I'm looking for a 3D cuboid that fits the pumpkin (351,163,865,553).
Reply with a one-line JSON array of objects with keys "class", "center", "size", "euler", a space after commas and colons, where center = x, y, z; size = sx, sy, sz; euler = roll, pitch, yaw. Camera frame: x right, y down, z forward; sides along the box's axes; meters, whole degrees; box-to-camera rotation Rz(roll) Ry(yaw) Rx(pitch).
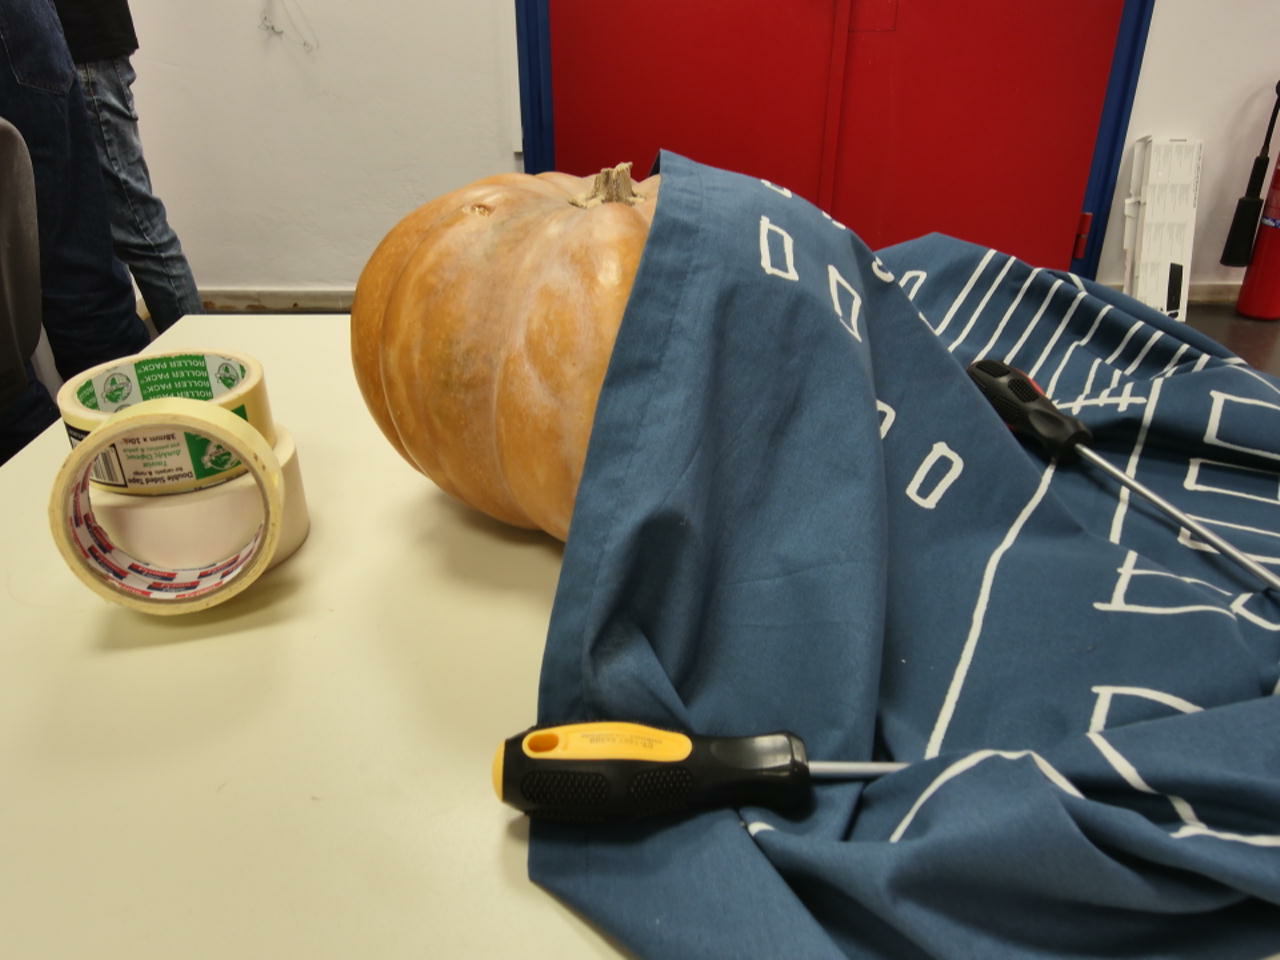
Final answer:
[{"class": "pumpkin", "center": [-0.014, -0.074, 0.533], "size": [0.277, 0.181, 0.277], "euler": [0, 26, 0]}]
